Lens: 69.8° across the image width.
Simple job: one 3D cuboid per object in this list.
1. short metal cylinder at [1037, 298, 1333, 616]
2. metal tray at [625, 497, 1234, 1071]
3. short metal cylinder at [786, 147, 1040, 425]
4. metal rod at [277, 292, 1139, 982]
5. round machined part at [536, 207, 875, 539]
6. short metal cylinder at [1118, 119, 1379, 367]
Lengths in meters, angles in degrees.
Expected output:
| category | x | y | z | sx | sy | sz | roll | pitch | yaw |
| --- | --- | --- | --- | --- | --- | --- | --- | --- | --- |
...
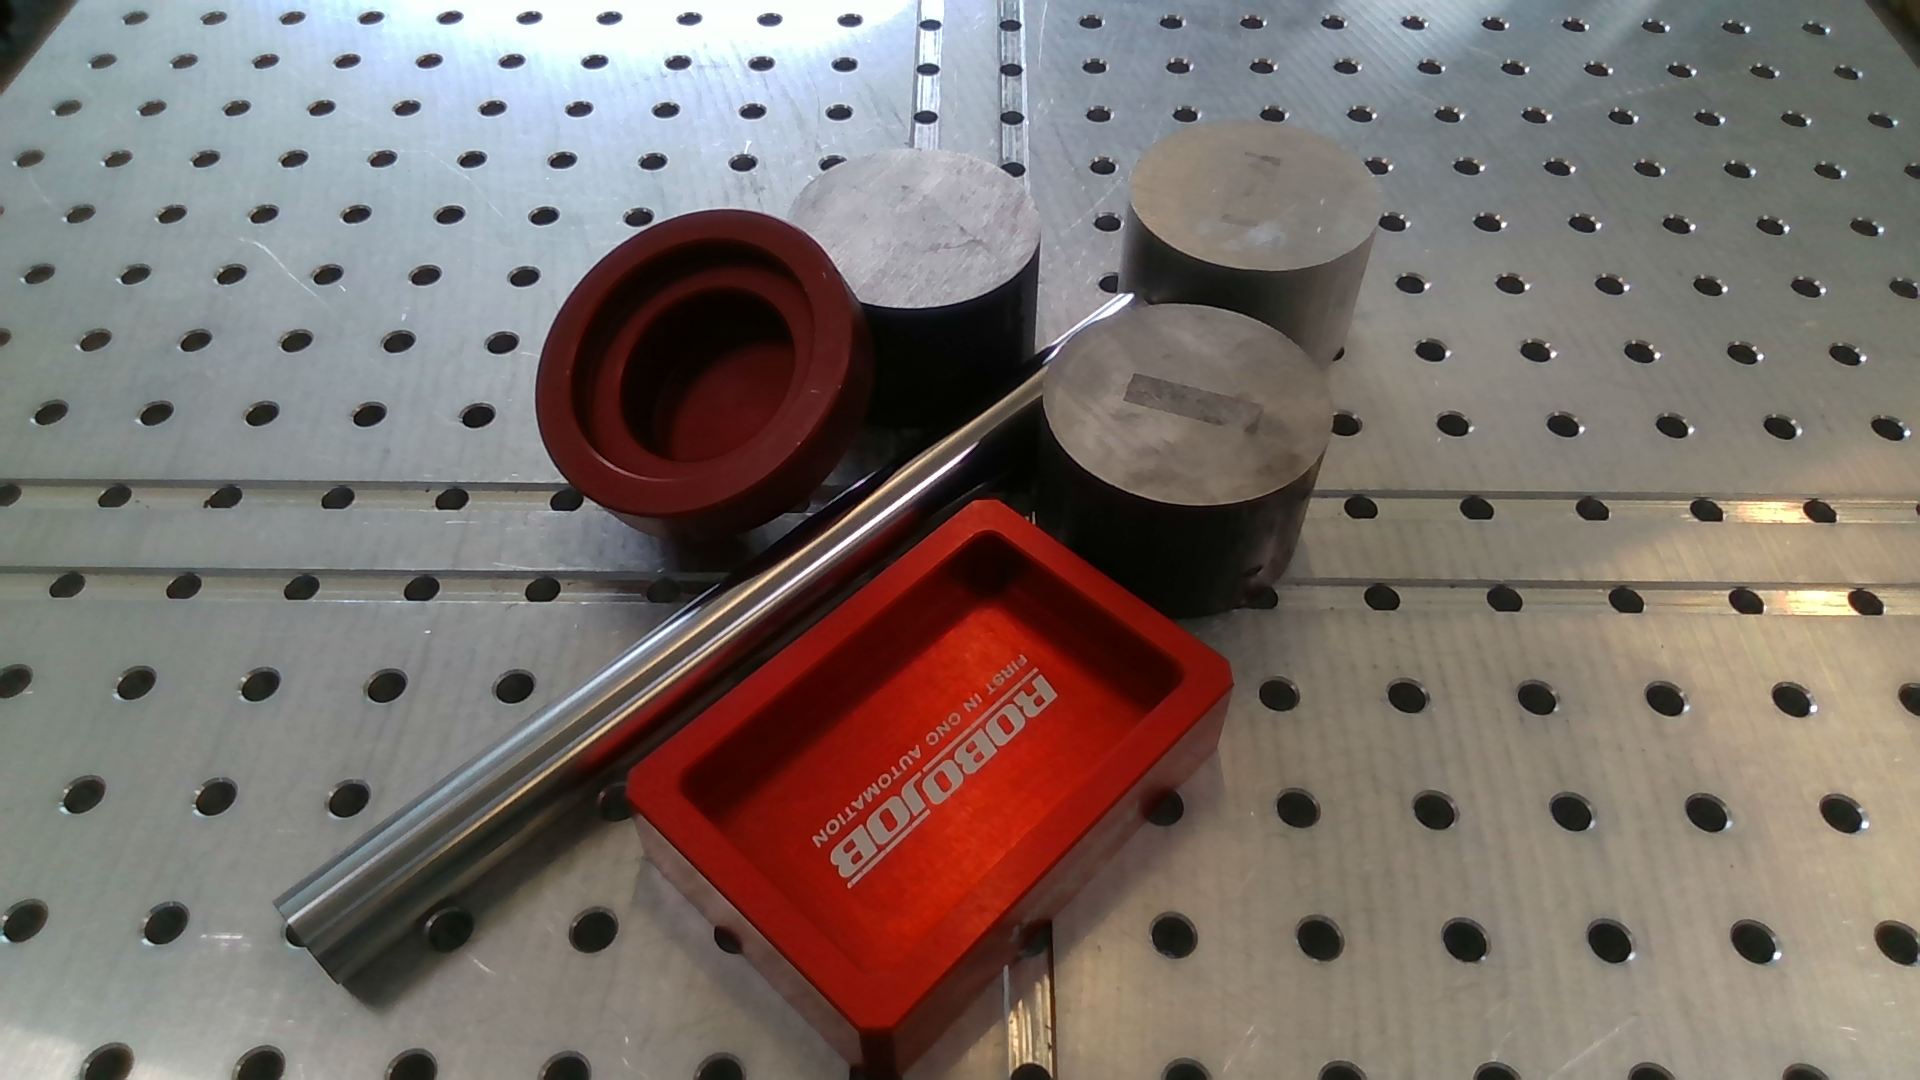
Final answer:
| category | x | y | z | sx | sy | sz | roll | pitch | yaw |
| --- | --- | --- | --- | --- | --- | --- | --- | --- | --- |
| short metal cylinder | 0.063 | -0.025 | 0.400 | 0.080 | 0.050 | 0.080 | 0 | 50 | 0 |
| metal tray | -0.005 | 0.054 | 0.348 | 0.090 | 0.030 | 0.130 | 36 | 59 | 27 |
| short metal cylinder | -0.015 | -0.084 | 0.450 | 0.080 | 0.050 | 0.080 | 0 | 50 | 0 |
| metal rod | -0.046 | 0.011 | 0.388 | 0.025 | 0.025 | 0.300 | 37 | 59 | 27 |
| round machined part | -0.072 | -0.046 | 0.410 | 0.098 | 0.042 | 0.098 | -5 | 68 | 14 |
| short metal cylinder | 0.094 | -0.096 | 0.461 | 0.080 | 0.050 | 0.080 | 0 | 50 | 0 |
